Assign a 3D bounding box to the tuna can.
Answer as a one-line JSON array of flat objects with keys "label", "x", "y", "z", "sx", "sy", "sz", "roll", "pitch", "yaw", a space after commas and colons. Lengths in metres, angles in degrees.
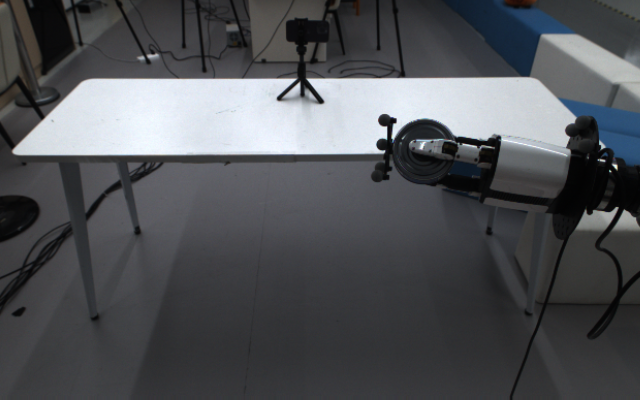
[{"label": "tuna can", "x": 0.144, "y": -0.068, "z": 0.660, "sx": 0.085, "sy": 0.085, "sz": 0.034, "roll": 9, "pitch": -7, "yaw": 10}]
